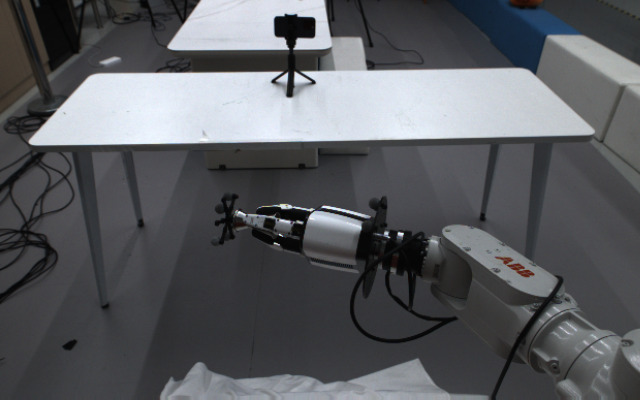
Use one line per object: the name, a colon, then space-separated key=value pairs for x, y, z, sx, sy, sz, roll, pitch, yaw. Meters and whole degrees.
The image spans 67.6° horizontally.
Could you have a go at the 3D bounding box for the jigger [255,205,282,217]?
jigger: x=-0.097 y=0.034 z=0.786 sx=0.071 sy=0.043 sz=0.043 roll=7 pitch=35 yaw=13
